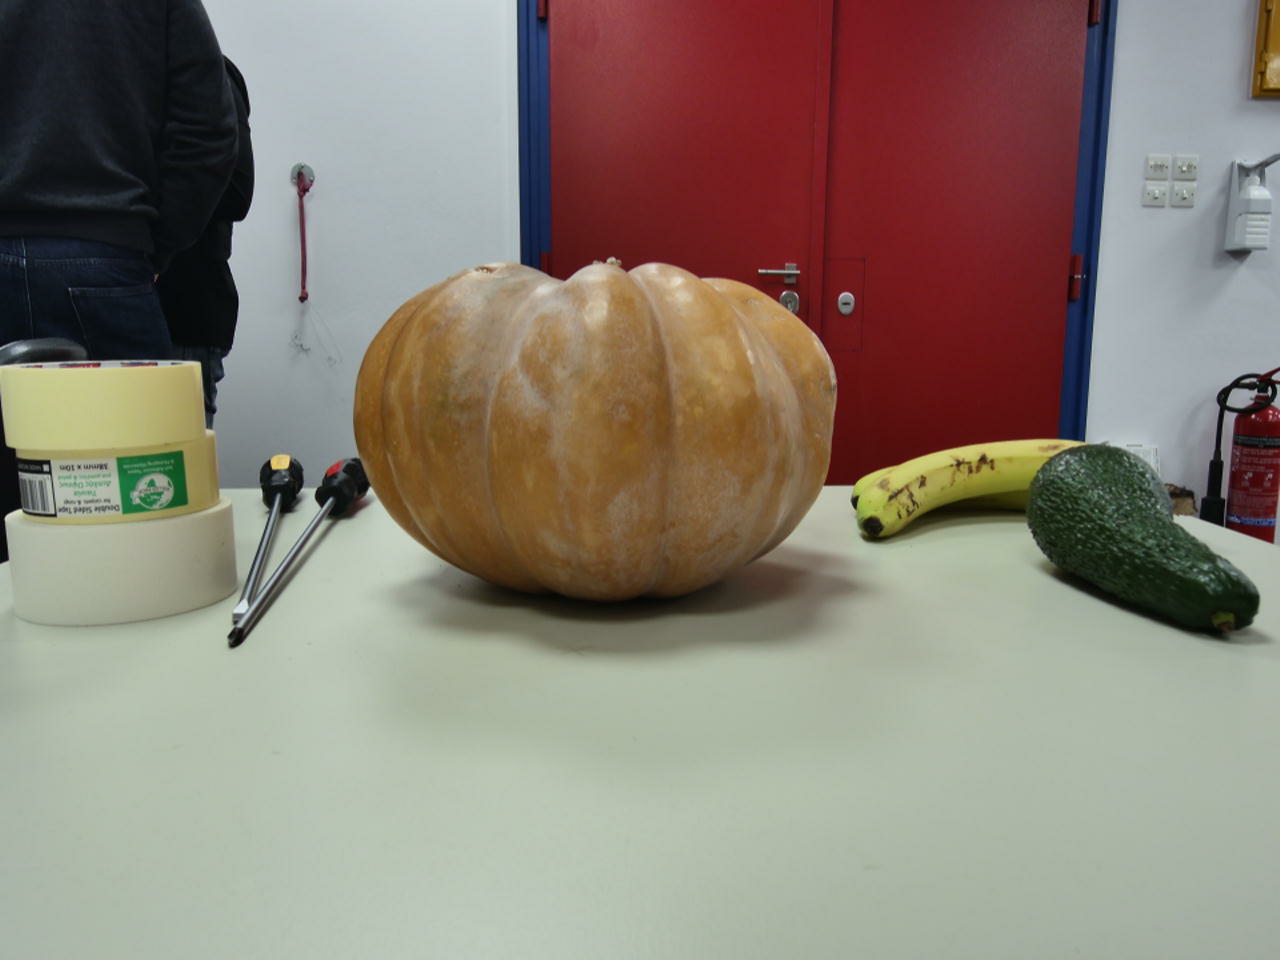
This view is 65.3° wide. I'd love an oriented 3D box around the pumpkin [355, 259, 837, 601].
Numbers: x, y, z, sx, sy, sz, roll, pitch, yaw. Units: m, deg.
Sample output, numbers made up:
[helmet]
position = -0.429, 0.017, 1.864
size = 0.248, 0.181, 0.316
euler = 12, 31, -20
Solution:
[pumpkin]
position = -0.021, -0.032, 0.562
size = 0.277, 0.181, 0.277
euler = 0, 7, 0
